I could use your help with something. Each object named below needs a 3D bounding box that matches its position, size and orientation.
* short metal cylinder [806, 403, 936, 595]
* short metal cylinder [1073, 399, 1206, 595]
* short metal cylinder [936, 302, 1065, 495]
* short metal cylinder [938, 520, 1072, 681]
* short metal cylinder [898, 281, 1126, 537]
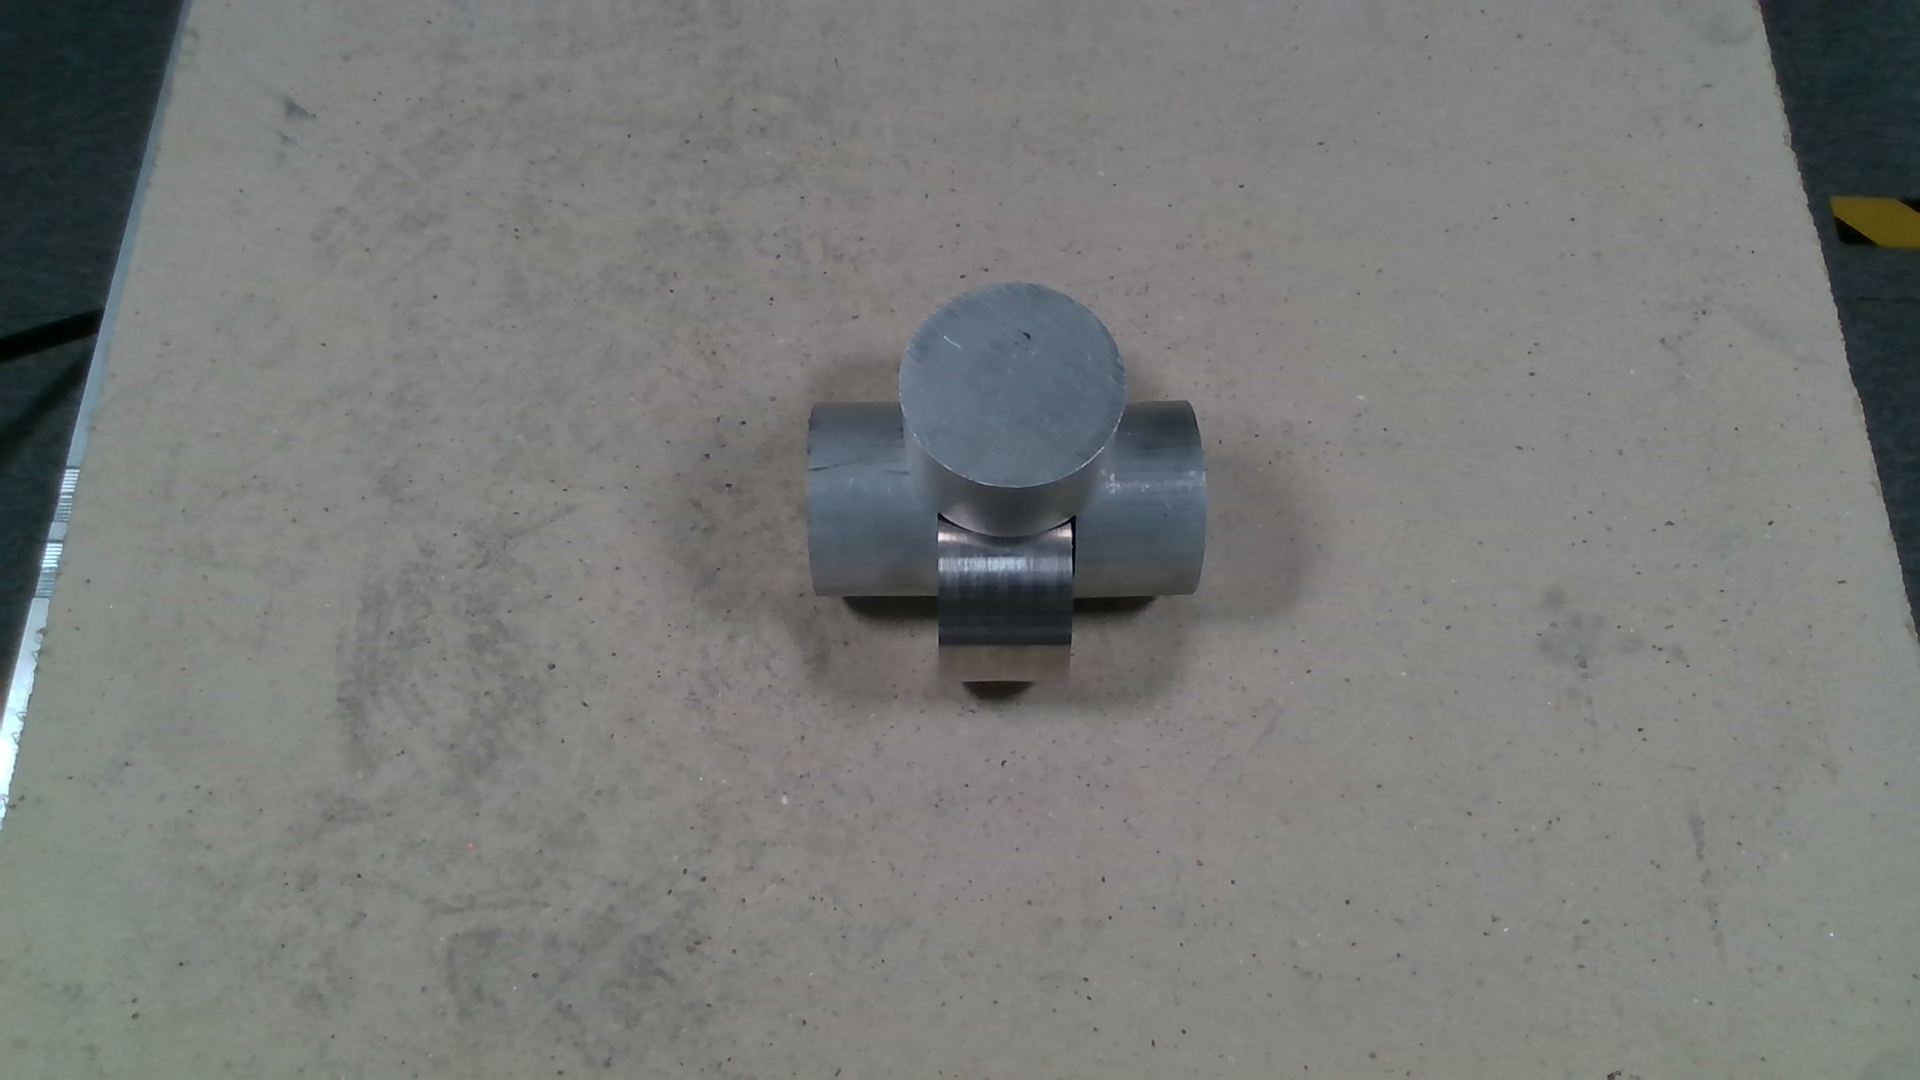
[{"bbox_3d":[-0.034,-0.017,0.565,0.050,0.080,0.080,0,70,0],"label":"short metal cylinder"},{"bbox_3d":[0.068,-0.017,0.565,0.050,0.080,0.080,-2,70,-1],"label":"short metal cylinder"},{"bbox_3d":[0.016,-0.059,0.580,0.050,0.080,0.080,-1,70,0],"label":"short metal cylinder"},{"bbox_3d":[0.017,0.016,0.553,0.050,0.080,0.080,-1,70,0],"label":"short metal cylinder"},{"bbox_3d":[0.018,-0.047,0.506,0.080,0.050,0.080,0,70,0],"label":"short metal cylinder"}]
